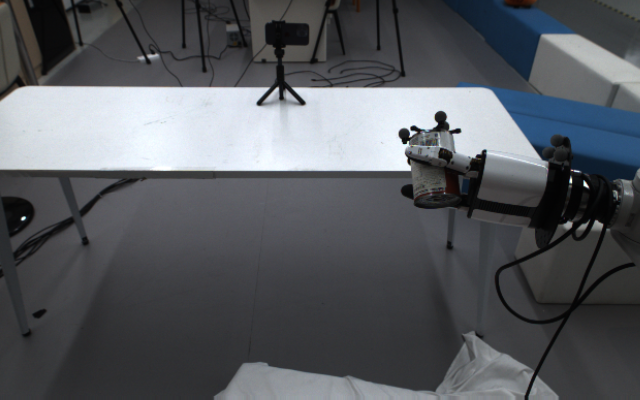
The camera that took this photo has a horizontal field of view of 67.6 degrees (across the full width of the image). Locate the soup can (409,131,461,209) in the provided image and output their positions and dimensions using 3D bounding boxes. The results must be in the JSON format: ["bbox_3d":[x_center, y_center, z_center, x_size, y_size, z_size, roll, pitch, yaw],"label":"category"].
[{"bbox_3d":[0.168,-0.047,0.714,0.067,0.067,0.101,0,72,-4],"label":"soup can"}]
